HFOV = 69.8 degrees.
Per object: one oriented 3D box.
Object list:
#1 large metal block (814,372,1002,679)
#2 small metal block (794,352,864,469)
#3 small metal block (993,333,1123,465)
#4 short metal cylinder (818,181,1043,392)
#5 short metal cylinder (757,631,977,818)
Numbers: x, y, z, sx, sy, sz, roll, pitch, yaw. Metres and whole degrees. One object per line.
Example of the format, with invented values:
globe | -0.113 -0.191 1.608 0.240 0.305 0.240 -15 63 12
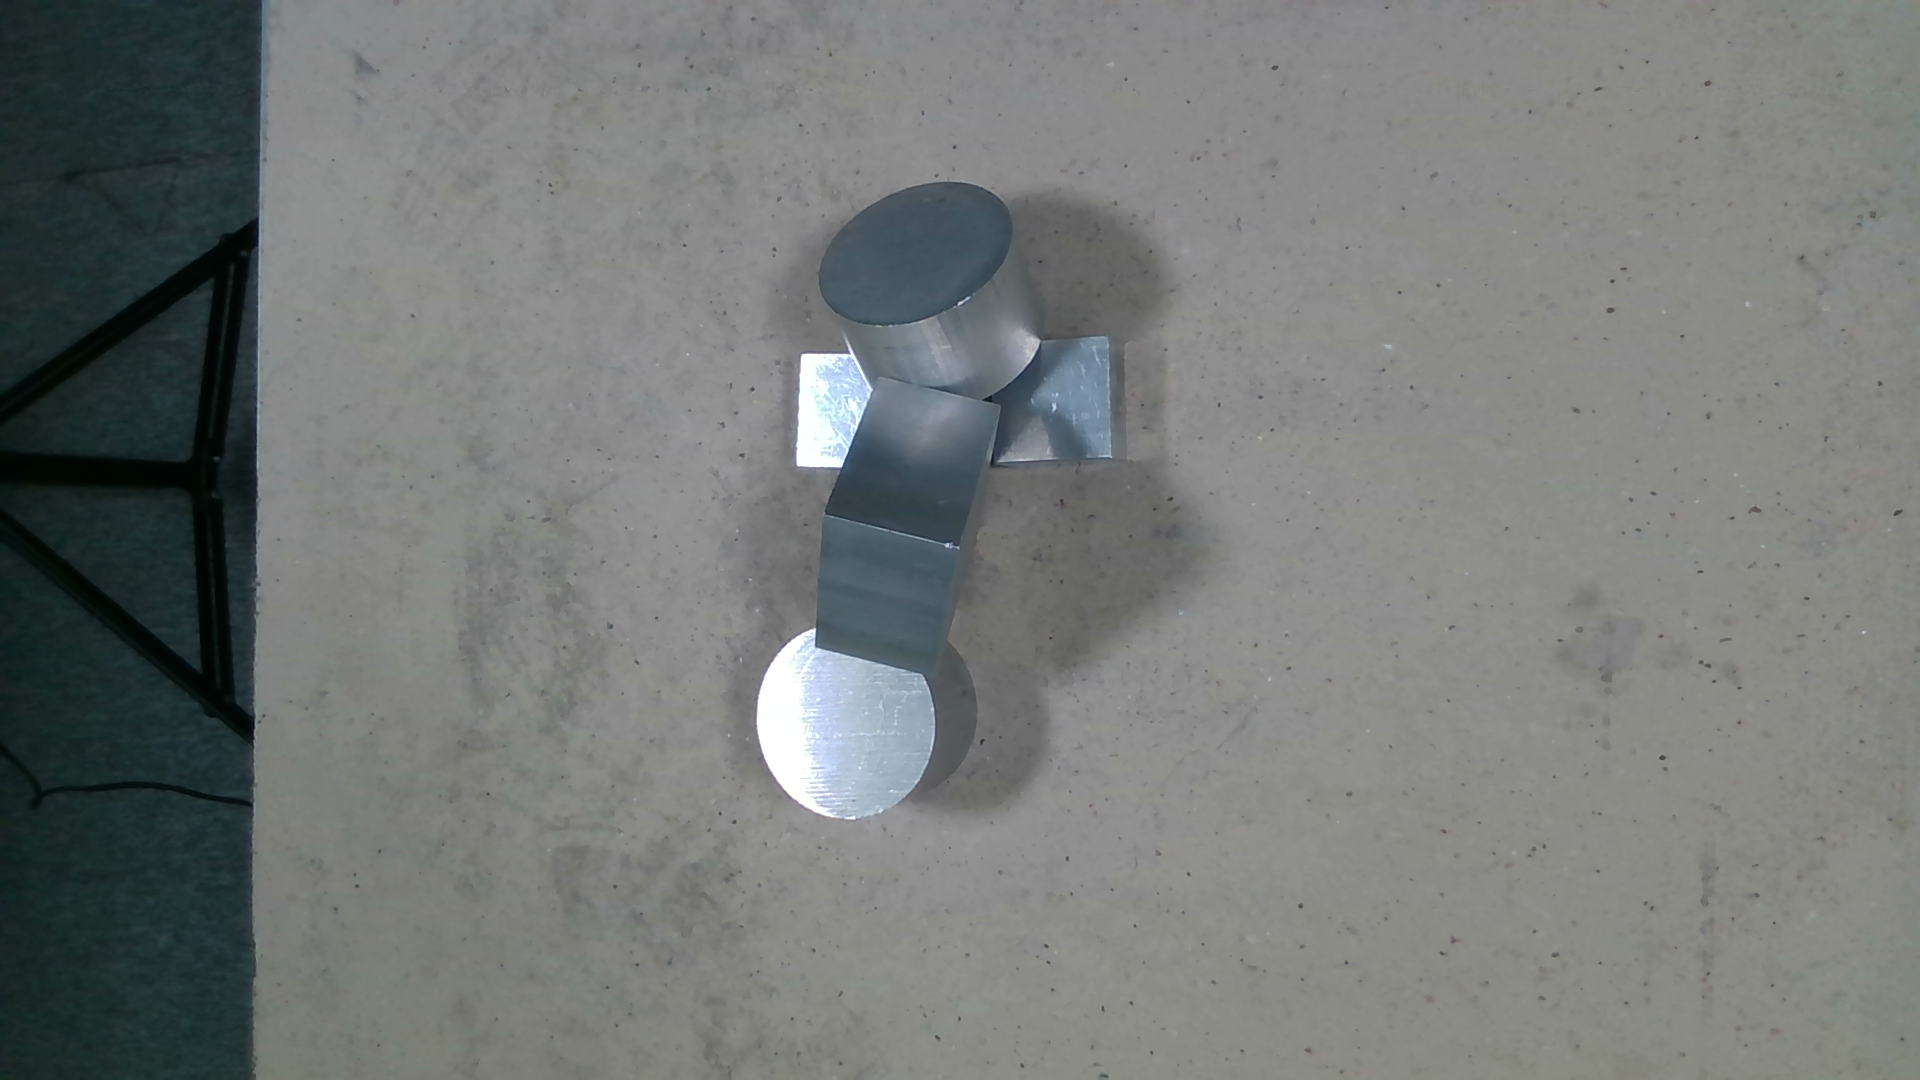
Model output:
large metal block | -0.021 -0.005 0.544 0.050 0.080 0.080 14 138 3
small metal block | -0.043 -0.056 0.601 0.050 0.025 0.050 3 91 20
small metal block | 0.041 -0.057 0.570 0.050 0.025 0.050 -1 90 20
short metal cylinder | -0.011 -0.099 0.556 0.080 0.050 0.080 -11 51 14
short metal cylinder | -0.039 0.074 0.588 0.080 0.050 0.080 0 90 20
